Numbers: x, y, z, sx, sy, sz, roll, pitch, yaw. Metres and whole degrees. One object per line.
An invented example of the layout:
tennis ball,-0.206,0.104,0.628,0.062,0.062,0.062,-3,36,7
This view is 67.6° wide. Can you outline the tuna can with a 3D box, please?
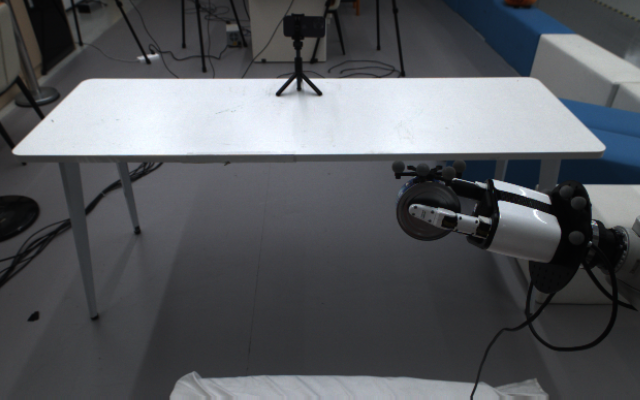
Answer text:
tuna can,0.148,0.010,0.663,0.085,0.085,0.034,4,17,3
